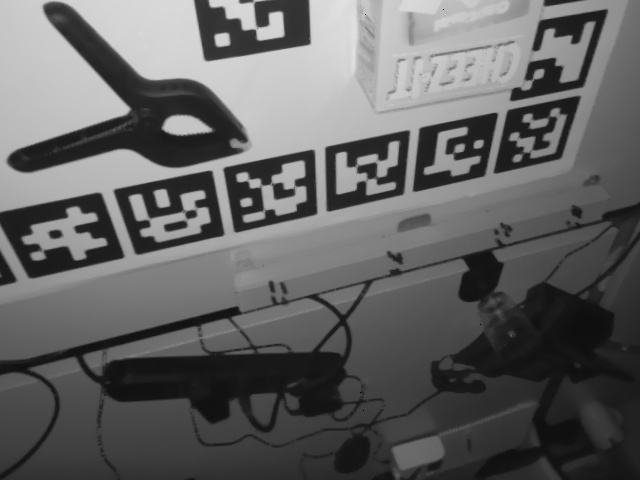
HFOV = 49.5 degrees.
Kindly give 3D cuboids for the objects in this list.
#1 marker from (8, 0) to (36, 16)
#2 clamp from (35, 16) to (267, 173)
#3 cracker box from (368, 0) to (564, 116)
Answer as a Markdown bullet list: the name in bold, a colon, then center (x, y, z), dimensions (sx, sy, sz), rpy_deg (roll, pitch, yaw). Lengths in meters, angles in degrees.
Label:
- **marker**: center (-0.232, -0.216, 0.495), dimensions (0.020, 0.020, 0.120), rpy_deg (-16, 139, -9)
- **clamp**: center (-0.143, -0.110, 0.658), dimensions (0.205, 0.037, 0.163), rpy_deg (11, 130, -33)
- **cracker box**: center (0.136, -0.222, 0.623), dimensions (0.166, 0.072, 0.211), rpy_deg (-12, 138, -13)
